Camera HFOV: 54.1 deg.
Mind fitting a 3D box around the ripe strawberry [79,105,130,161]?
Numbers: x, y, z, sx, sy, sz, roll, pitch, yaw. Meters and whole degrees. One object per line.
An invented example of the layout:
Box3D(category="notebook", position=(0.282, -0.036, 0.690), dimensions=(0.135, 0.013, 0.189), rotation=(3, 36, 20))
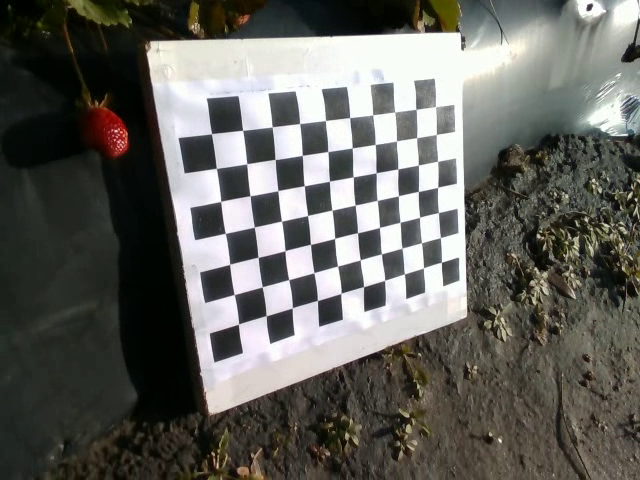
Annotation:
Box3D(category="ripe strawberry", position=(-0.118, -0.057, 0.350), dimensions=(0.034, 0.038, 0.033), rotation=(-15, -35, -32))
